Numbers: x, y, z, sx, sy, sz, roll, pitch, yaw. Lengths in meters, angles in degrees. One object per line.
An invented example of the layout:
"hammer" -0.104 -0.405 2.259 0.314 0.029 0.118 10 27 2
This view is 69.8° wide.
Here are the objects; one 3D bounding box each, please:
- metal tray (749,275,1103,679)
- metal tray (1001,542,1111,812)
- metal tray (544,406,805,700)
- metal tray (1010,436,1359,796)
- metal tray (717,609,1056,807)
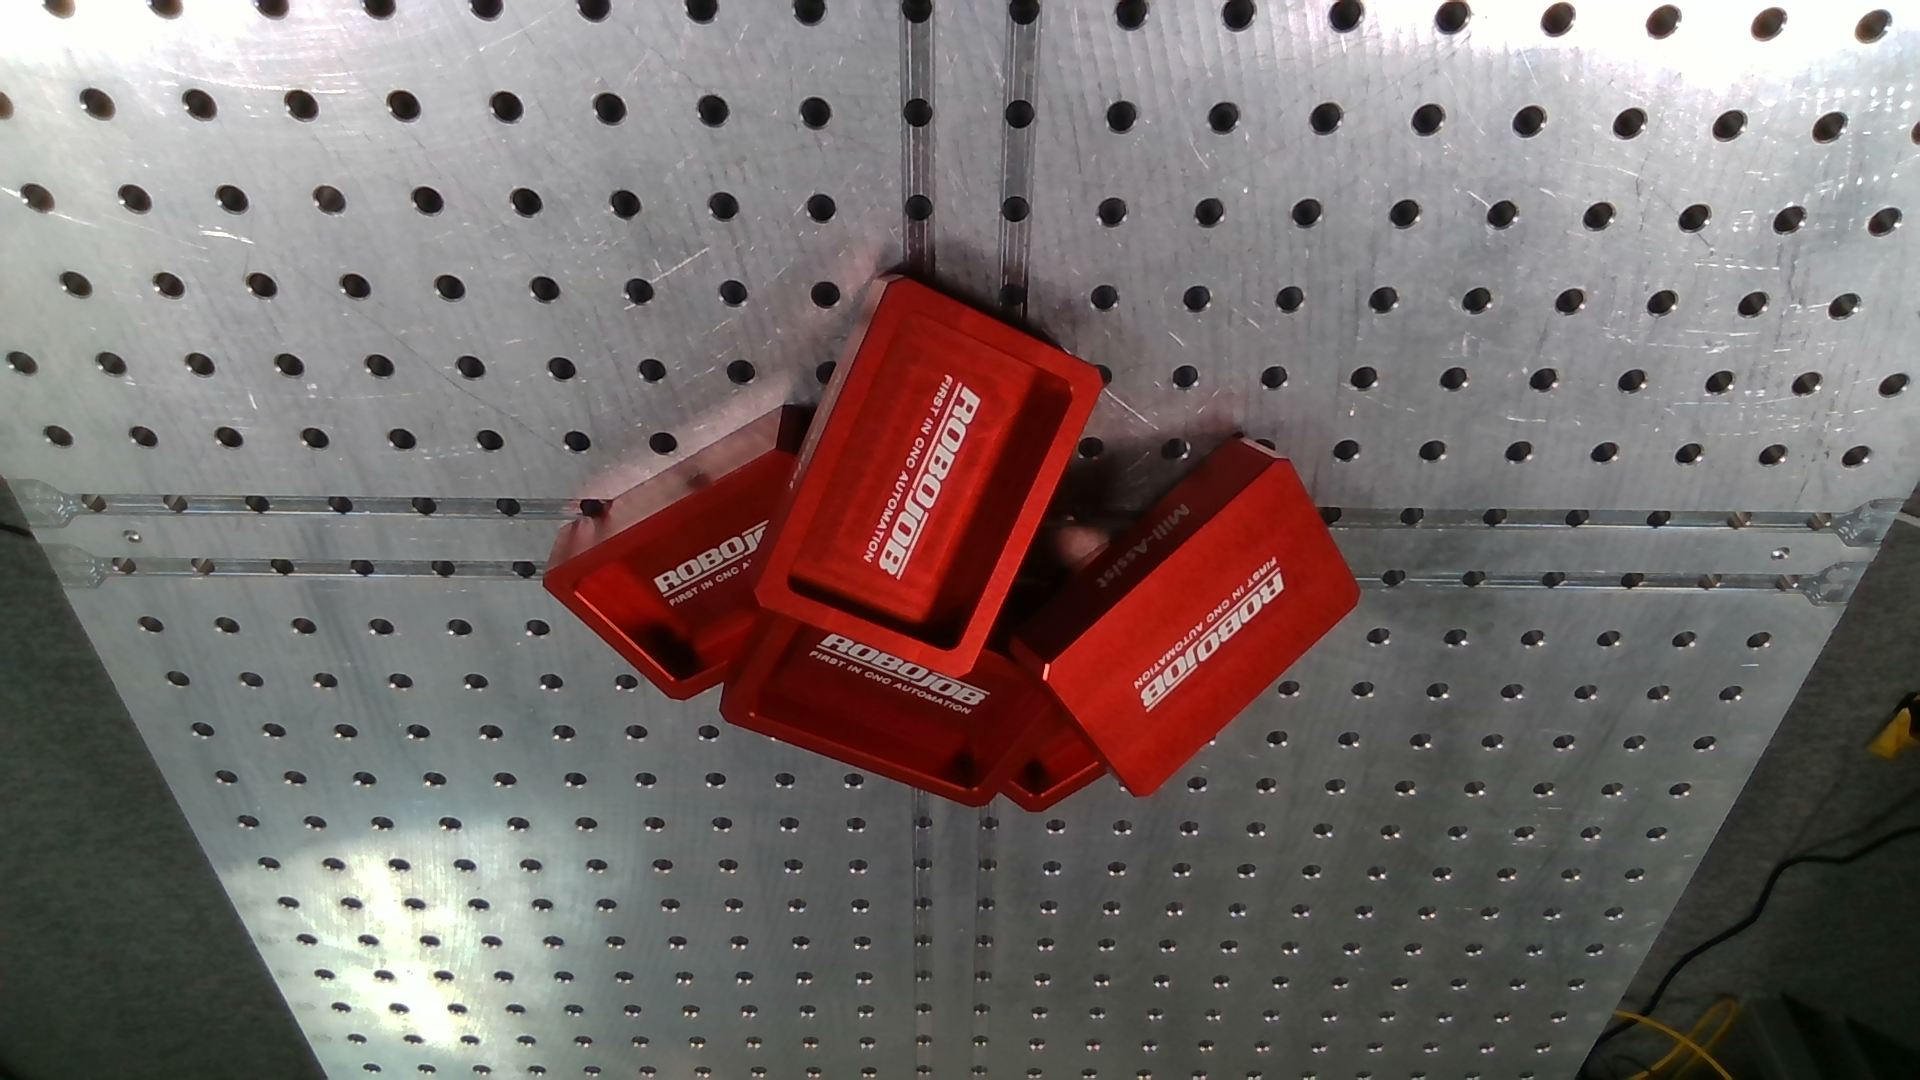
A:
"metal tray" -0.014 -0.023 0.519 0.090 0.030 0.130 22 96 -18
"metal tray" 0.052 0.067 0.634 0.130 0.030 0.090 -36 121 26
"metal tray" -0.098 0.009 0.586 0.130 0.030 0.090 -26 125 20
"metal tray" 0.094 0.032 0.566 0.130 0.030 0.090 -41 124 -6
"metal tray" -0.026 0.059 0.590 0.130 0.030 0.090 23 126 -18
